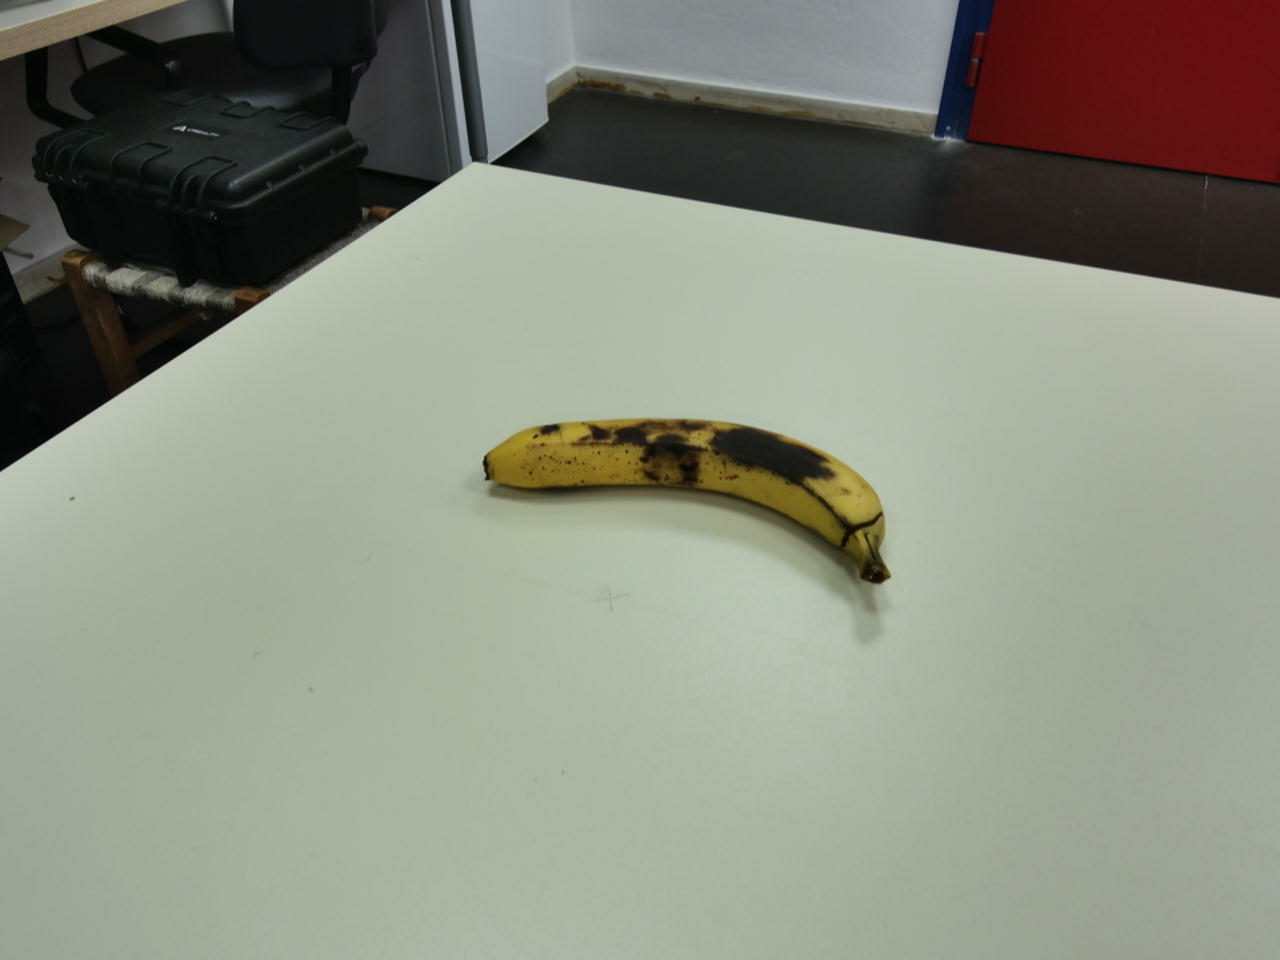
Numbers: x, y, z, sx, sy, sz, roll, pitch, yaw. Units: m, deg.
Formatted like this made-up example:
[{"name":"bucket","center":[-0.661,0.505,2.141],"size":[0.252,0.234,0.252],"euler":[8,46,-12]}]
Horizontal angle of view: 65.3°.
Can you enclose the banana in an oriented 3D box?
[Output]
[{"name":"banana","center":[0.030,-0.003,0.528],"size":[0.222,0.037,0.084],"euler":[16,41,20]}]
